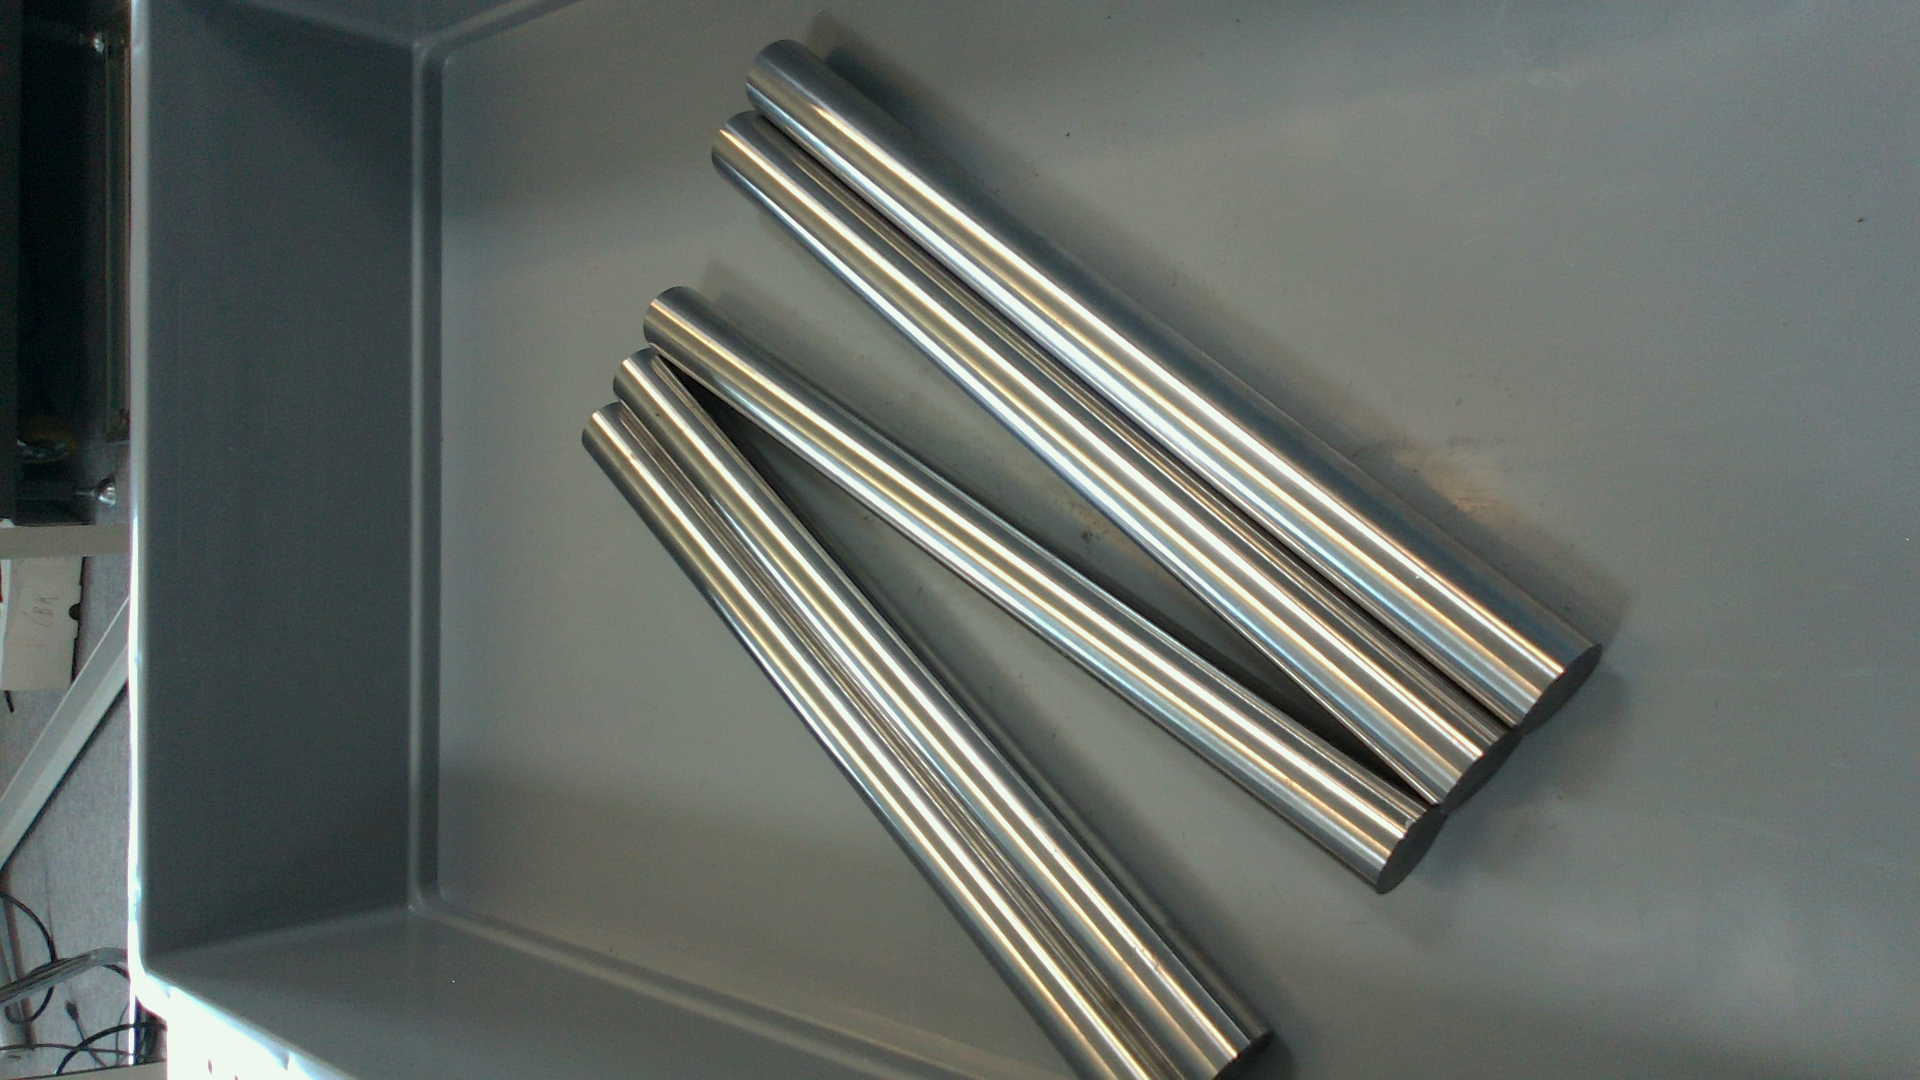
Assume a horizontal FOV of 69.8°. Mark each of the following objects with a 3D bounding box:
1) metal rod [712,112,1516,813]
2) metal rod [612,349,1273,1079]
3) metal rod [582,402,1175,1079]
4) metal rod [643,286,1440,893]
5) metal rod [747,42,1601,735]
[{"bbox_3d":[0.021,-0.040,0.376,0.299,0.025,0.025,44,117,31],"label":"metal rod"},{"bbox_3d":[-0.022,0.035,0.412,0.299,0.025,0.025,46,118,30],"label":"metal rod"},{"bbox_3d":[-0.036,0.052,0.424,0.299,0.025,0.025,46,118,30],"label":"metal rod"},{"bbox_3d":[0.001,-0.004,0.393,0.299,0.025,0.025,36,112,34],"label":"metal rod"},{"bbox_3d":[0.034,-0.058,0.365,0.299,0.025,0.025,44,117,31],"label":"metal rod"}]
